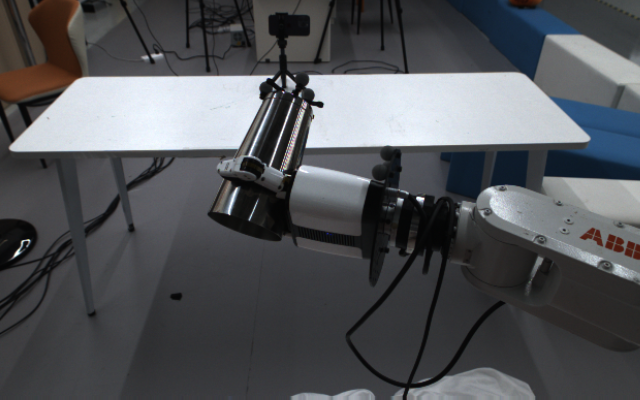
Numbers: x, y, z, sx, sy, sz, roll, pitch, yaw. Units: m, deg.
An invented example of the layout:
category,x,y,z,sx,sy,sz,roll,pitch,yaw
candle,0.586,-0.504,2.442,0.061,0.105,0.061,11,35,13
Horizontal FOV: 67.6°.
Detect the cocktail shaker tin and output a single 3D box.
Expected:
category,x,y,z,sx,sy,sz,roll,pitch,yaw
cocktail shaker tin,-0.066,-0.045,0.595,0.093,0.093,0.170,14,72,16
